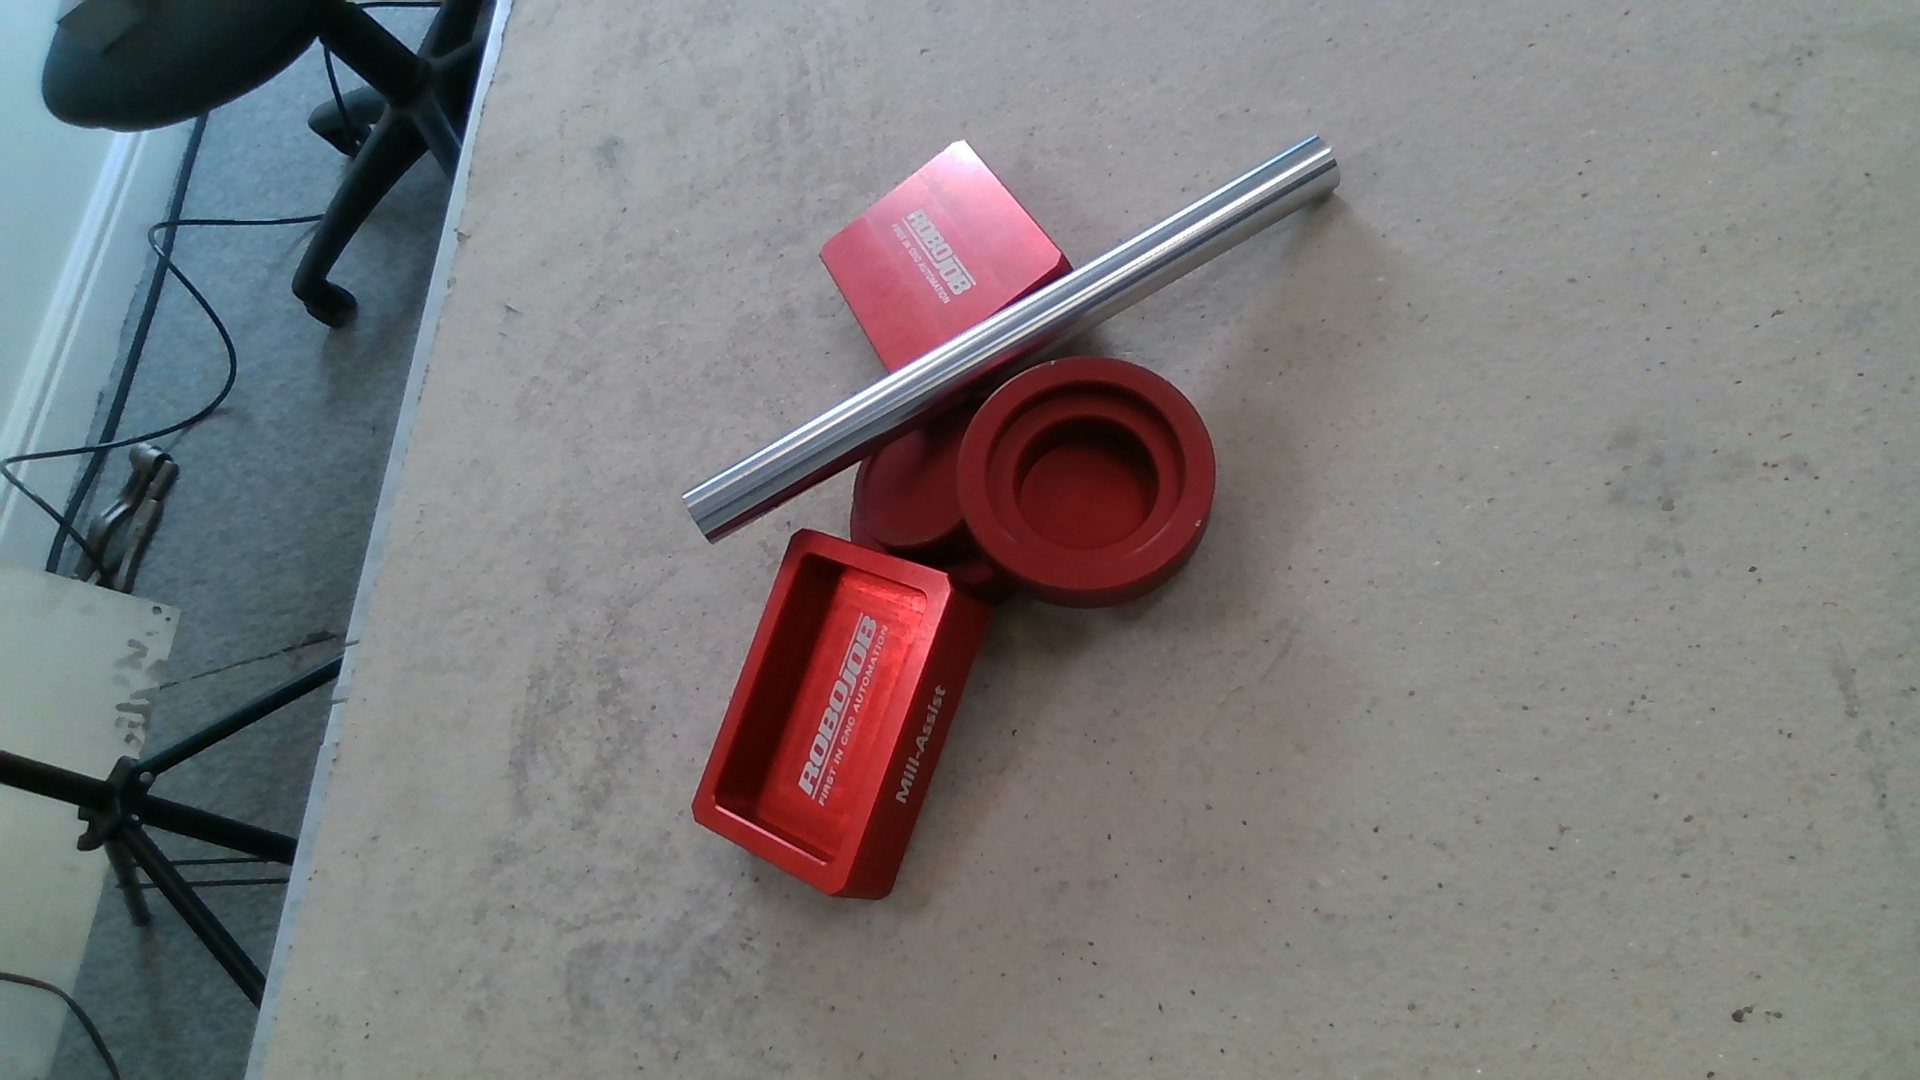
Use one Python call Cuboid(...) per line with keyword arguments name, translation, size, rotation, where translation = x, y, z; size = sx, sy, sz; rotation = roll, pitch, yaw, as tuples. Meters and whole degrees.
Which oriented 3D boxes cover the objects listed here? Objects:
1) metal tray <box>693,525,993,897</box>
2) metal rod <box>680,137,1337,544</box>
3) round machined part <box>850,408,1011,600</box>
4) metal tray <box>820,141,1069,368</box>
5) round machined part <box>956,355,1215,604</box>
Cuboid(name="metal tray", translation=(-0.049, 0.068, 0.563), size=(0.090, 0.030, 0.130), rotation=(17, 86, 37))
Cuboid(name="metal rod", translation=(0.021, -0.083, 0.575), size=(0.300, 0.025, 0.025), rotation=(-30, 52, -1))
Cuboid(name="round machined part", translation=(-0.007, -0.020, 0.590), size=(0.098, 0.042, 0.098), rotation=(-14, 59, 25))
Cuboid(name="metal tray", translation=(-0.006, -0.123, 0.638), size=(0.090, 0.030, 0.130), rotation=(-36, 43, 7))
Cuboid(name="round machined part", translation=(0.049, -0.020, 0.541), size=(0.098, 0.042, 0.098), rotation=(-2, 68, 6))
